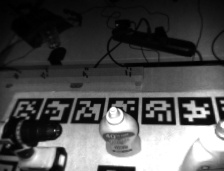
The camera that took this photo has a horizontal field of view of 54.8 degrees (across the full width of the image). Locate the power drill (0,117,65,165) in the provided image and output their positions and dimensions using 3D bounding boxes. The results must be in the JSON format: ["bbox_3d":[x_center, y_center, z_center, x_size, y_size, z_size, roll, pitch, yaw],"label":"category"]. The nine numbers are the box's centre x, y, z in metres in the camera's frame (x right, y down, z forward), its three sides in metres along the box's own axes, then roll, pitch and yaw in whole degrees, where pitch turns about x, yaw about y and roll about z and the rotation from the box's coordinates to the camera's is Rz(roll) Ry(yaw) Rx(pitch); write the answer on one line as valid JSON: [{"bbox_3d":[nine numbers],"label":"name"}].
[{"bbox_3d":[-0.185,0.131,0.521,0.184,0.189,0.057,-8,51,10],"label":"power drill"}]

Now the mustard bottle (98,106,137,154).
[{"bbox_3d":[0.010,0.111,0.541,0.096,0.193,0.058,-7,51,4],"label":"mustard bottle"}]

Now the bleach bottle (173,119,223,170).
[{"bbox_3d":[0.185,0.138,0.444,0.102,0.253,0.068,5,53,16],"label":"bleach bottle"}]
